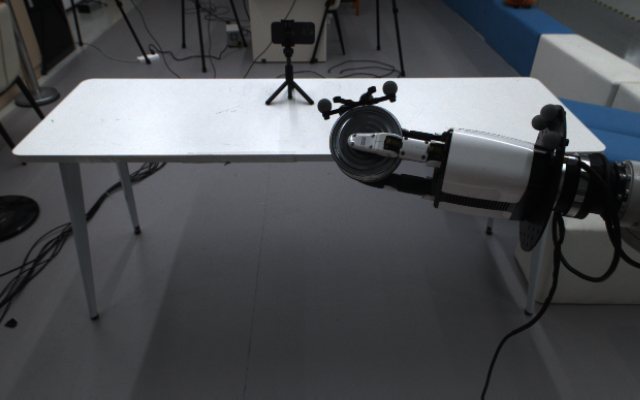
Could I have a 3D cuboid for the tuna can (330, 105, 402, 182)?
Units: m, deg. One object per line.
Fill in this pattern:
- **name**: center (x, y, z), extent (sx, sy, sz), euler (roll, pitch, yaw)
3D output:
- **tuna can**: center (0.057, -0.068, 0.563), extent (0.085, 0.085, 0.034), euler (12, -6, 14)
